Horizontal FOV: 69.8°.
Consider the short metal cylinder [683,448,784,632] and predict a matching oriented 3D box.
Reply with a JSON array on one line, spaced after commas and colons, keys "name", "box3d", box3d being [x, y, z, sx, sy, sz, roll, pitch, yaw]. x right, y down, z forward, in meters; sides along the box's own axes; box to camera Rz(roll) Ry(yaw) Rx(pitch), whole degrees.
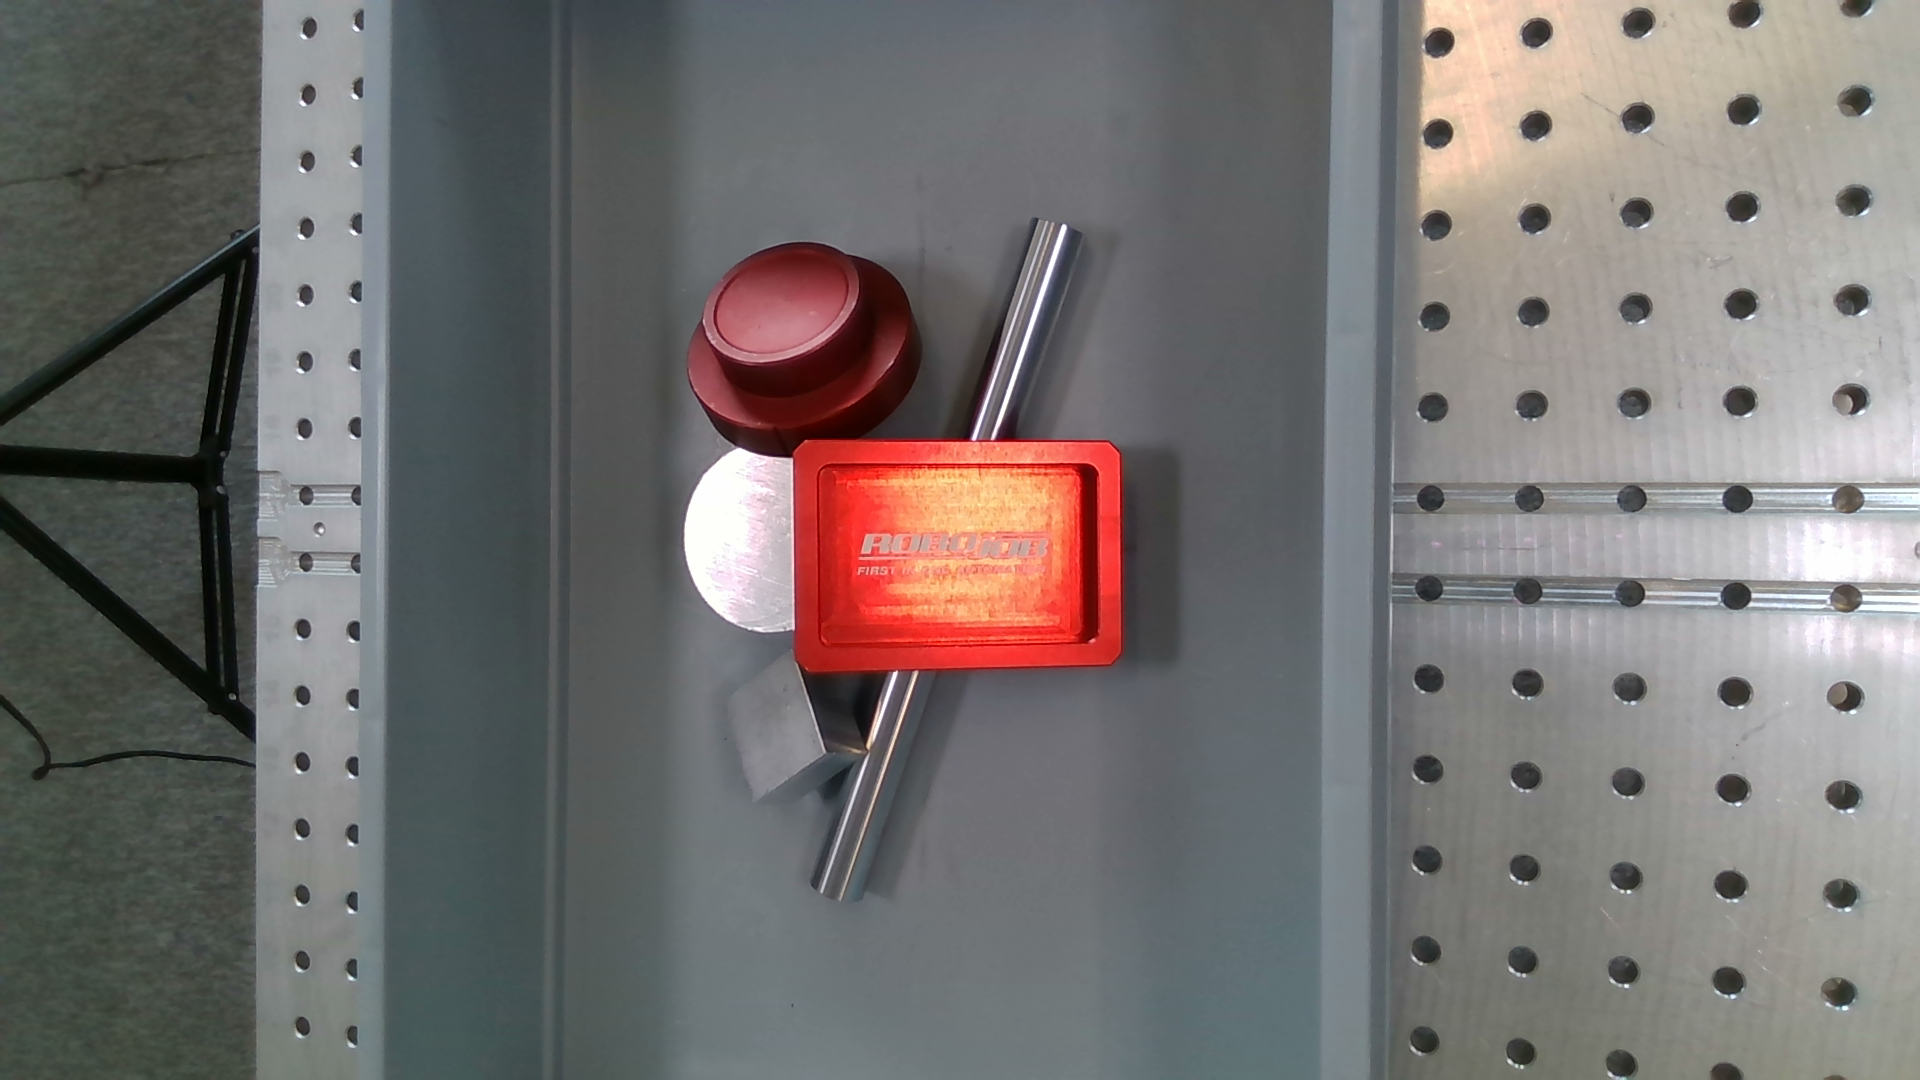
[{"name": "short metal cylinder", "box3d": [-0.072, -0.002, 0.598, 0.080, 0.050, 0.080, 0, 91, 20]}]

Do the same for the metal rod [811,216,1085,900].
[{"name": "metal rod", "box3d": [-0.007, 0.011, 0.587, 0.025, 0.025, 0.300, 21, 98, 19]}]

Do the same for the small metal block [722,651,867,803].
[{"name": "small metal block", "box3d": [-0.073, 0.081, 0.601, 0.050, 0.025, 0.050, -38, 61, 32]}]

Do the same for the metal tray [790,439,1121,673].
[{"name": "metal tray", "box3d": [-0.003, 0.005, 0.552, 0.130, 0.030, 0.090, -1, 91, -9]}]

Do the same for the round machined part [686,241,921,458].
[{"name": "round machined part", "box3d": [-0.069, -0.086, 0.575, 0.098, 0.042, 0.098, -7, 56, 11]}]
